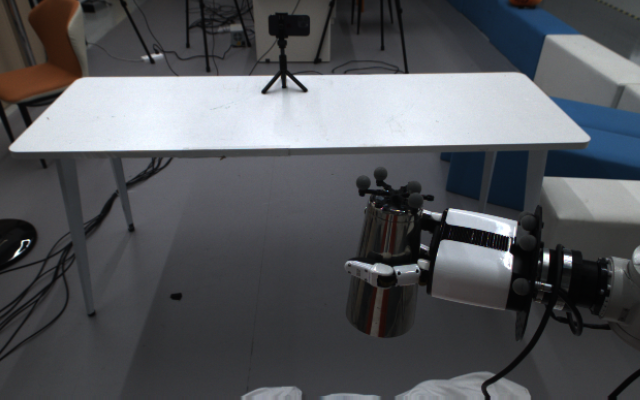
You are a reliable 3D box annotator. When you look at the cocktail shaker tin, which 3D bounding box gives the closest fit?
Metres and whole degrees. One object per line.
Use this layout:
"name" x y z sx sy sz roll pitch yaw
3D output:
"cocktail shaker tin" 0.087 0.076 0.613 0.093 0.170 0.093 2 26 -1
